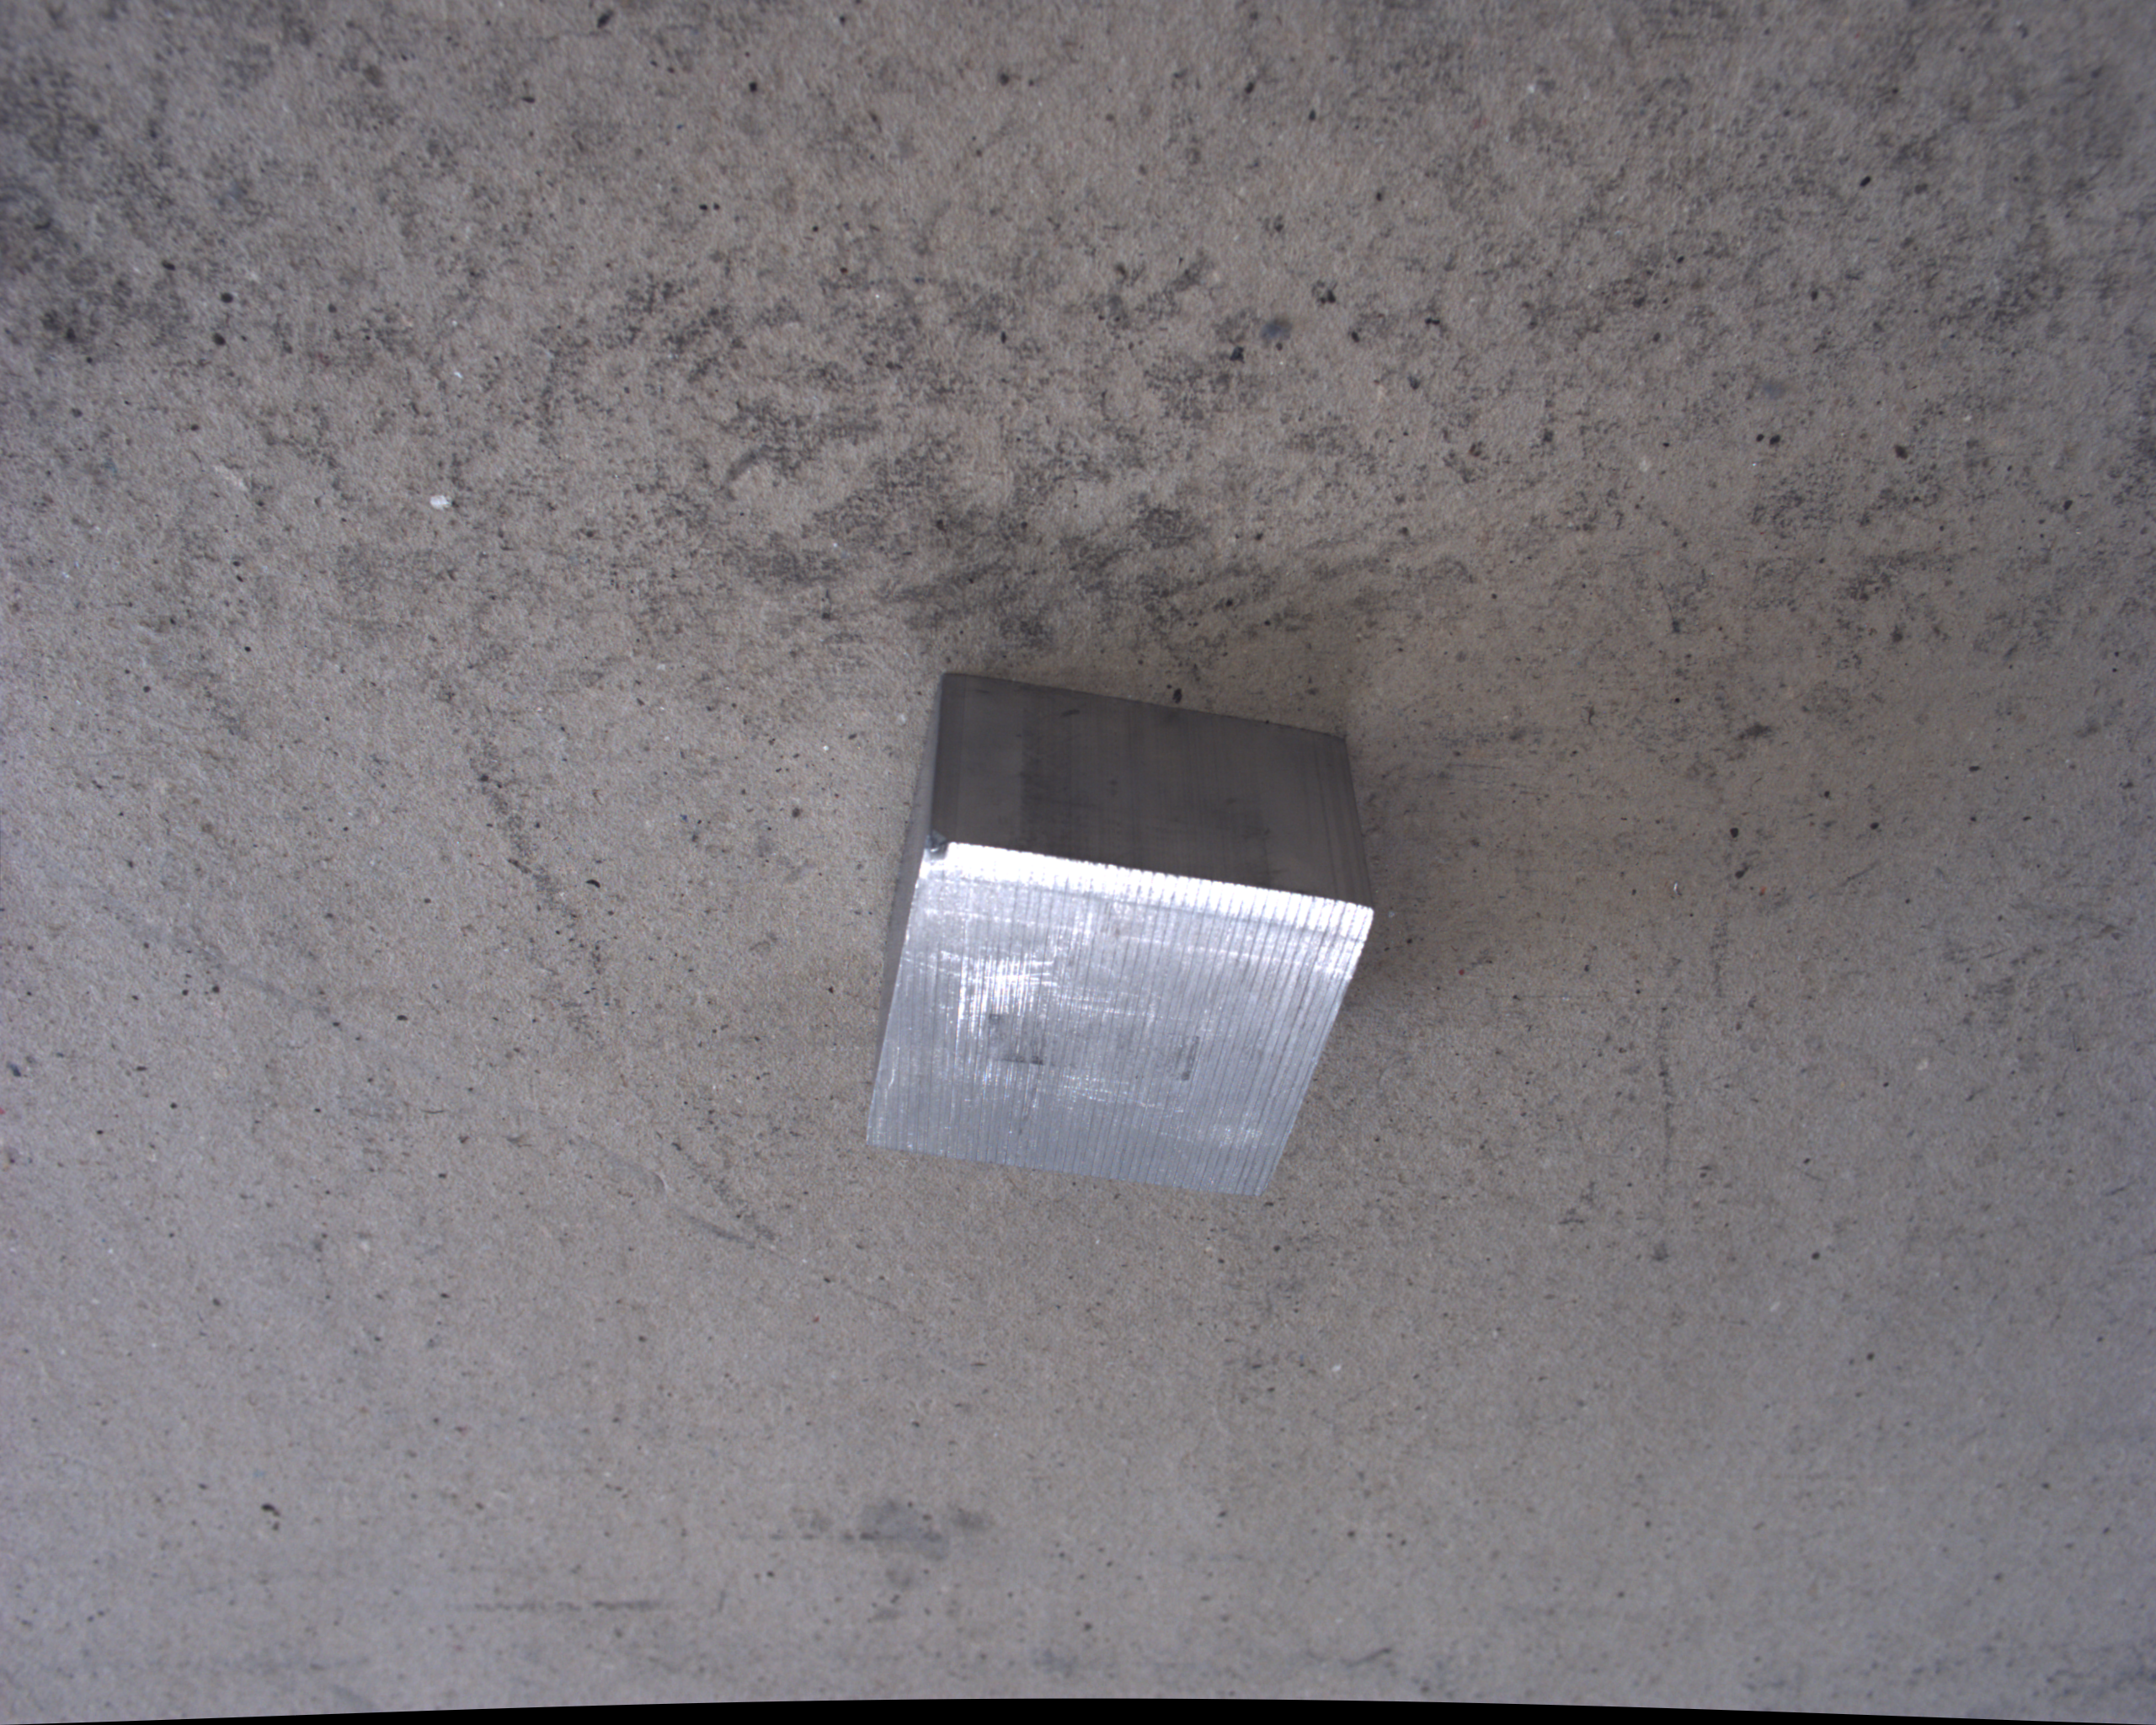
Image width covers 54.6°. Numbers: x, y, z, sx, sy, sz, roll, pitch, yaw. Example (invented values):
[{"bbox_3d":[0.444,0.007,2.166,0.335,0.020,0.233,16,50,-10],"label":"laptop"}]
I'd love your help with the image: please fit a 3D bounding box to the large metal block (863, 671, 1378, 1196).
[{"bbox_3d":[0.005,0.015,0.405,0.080,0.050,0.079,8,130,-8],"label":"large metal block"}]
